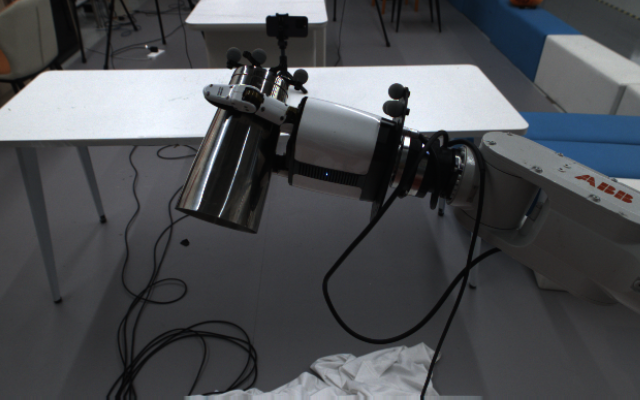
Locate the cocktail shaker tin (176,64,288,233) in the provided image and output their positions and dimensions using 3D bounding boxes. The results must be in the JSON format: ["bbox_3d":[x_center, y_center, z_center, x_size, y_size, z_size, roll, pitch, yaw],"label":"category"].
[{"bbox_3d":[-0.086,-0.059,0.539,0.093,0.093,0.170,13,79,15],"label":"cocktail shaker tin"}]
